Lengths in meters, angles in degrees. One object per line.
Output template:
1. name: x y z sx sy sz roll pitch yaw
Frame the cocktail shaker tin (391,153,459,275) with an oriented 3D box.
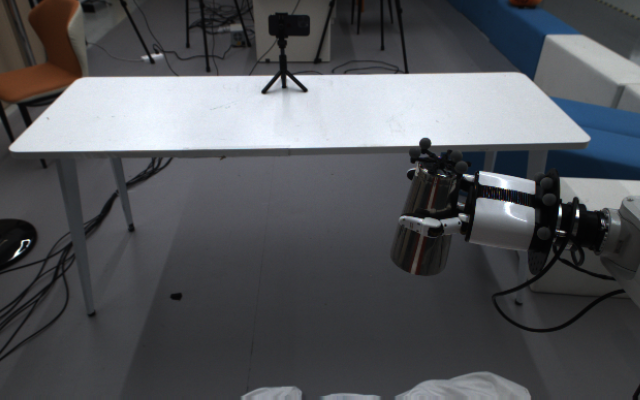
1. cocktail shaker tin: 0.168 0.021 0.750 0.093 0.170 0.093 4 32 -2
